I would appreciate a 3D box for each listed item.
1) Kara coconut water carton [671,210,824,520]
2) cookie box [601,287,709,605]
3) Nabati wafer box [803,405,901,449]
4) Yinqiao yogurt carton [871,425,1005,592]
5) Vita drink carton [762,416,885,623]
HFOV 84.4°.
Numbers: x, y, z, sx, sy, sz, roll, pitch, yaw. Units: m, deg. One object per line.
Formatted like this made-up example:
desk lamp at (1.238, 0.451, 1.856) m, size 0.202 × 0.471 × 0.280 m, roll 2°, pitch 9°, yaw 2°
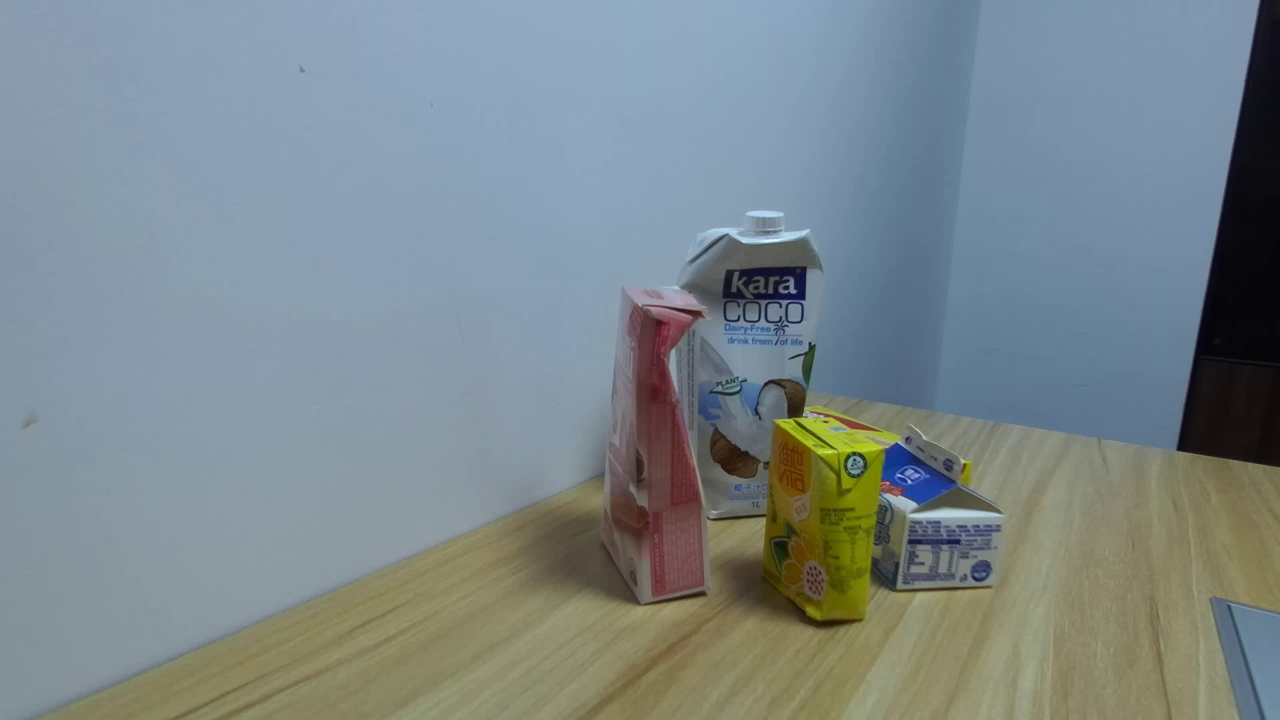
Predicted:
Kara coconut water carton at (0.083, 0.004, 0.558) m, size 0.115 × 0.238 × 0.069 m, roll 0°, pitch 12°, yaw -15°
cookie box at (0.013, 0.050, 0.450) m, size 0.055 × 0.184 × 0.118 m, roll 1°, pitch 11°, yaw -11°
Nabati wafer box at (0.161, 0.071, 0.705) m, size 0.202 × 0.042 × 0.093 m, roll 21°, pitch 16°, yaw 39°
Yinqiao yogurt carton at (0.194, 0.097, 0.480) m, size 0.074 × 0.092 × 0.075 m, roll 1°, pitch 12°, yaw -10°
Vita drink carton at (0.109, 0.096, 0.425) m, size 0.043 × 0.109 × 0.076 m, roll -1°, pitch 11°, yaw -12°
